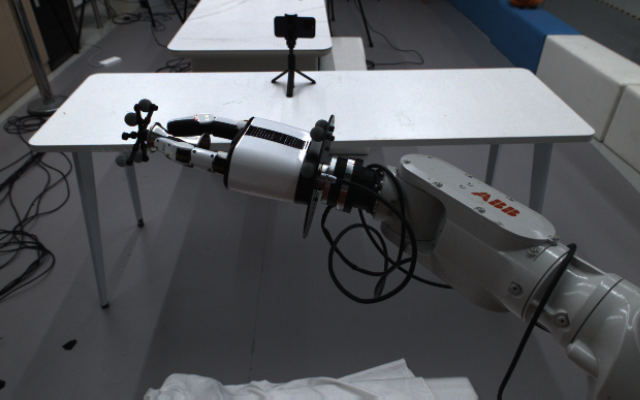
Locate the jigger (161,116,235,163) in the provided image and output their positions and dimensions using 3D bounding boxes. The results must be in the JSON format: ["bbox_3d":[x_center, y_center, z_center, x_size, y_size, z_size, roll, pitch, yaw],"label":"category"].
[{"bbox_3d":[-0.175,-0.077,0.624,0.071,0.043,0.043,14,36,4],"label":"jigger"}]
